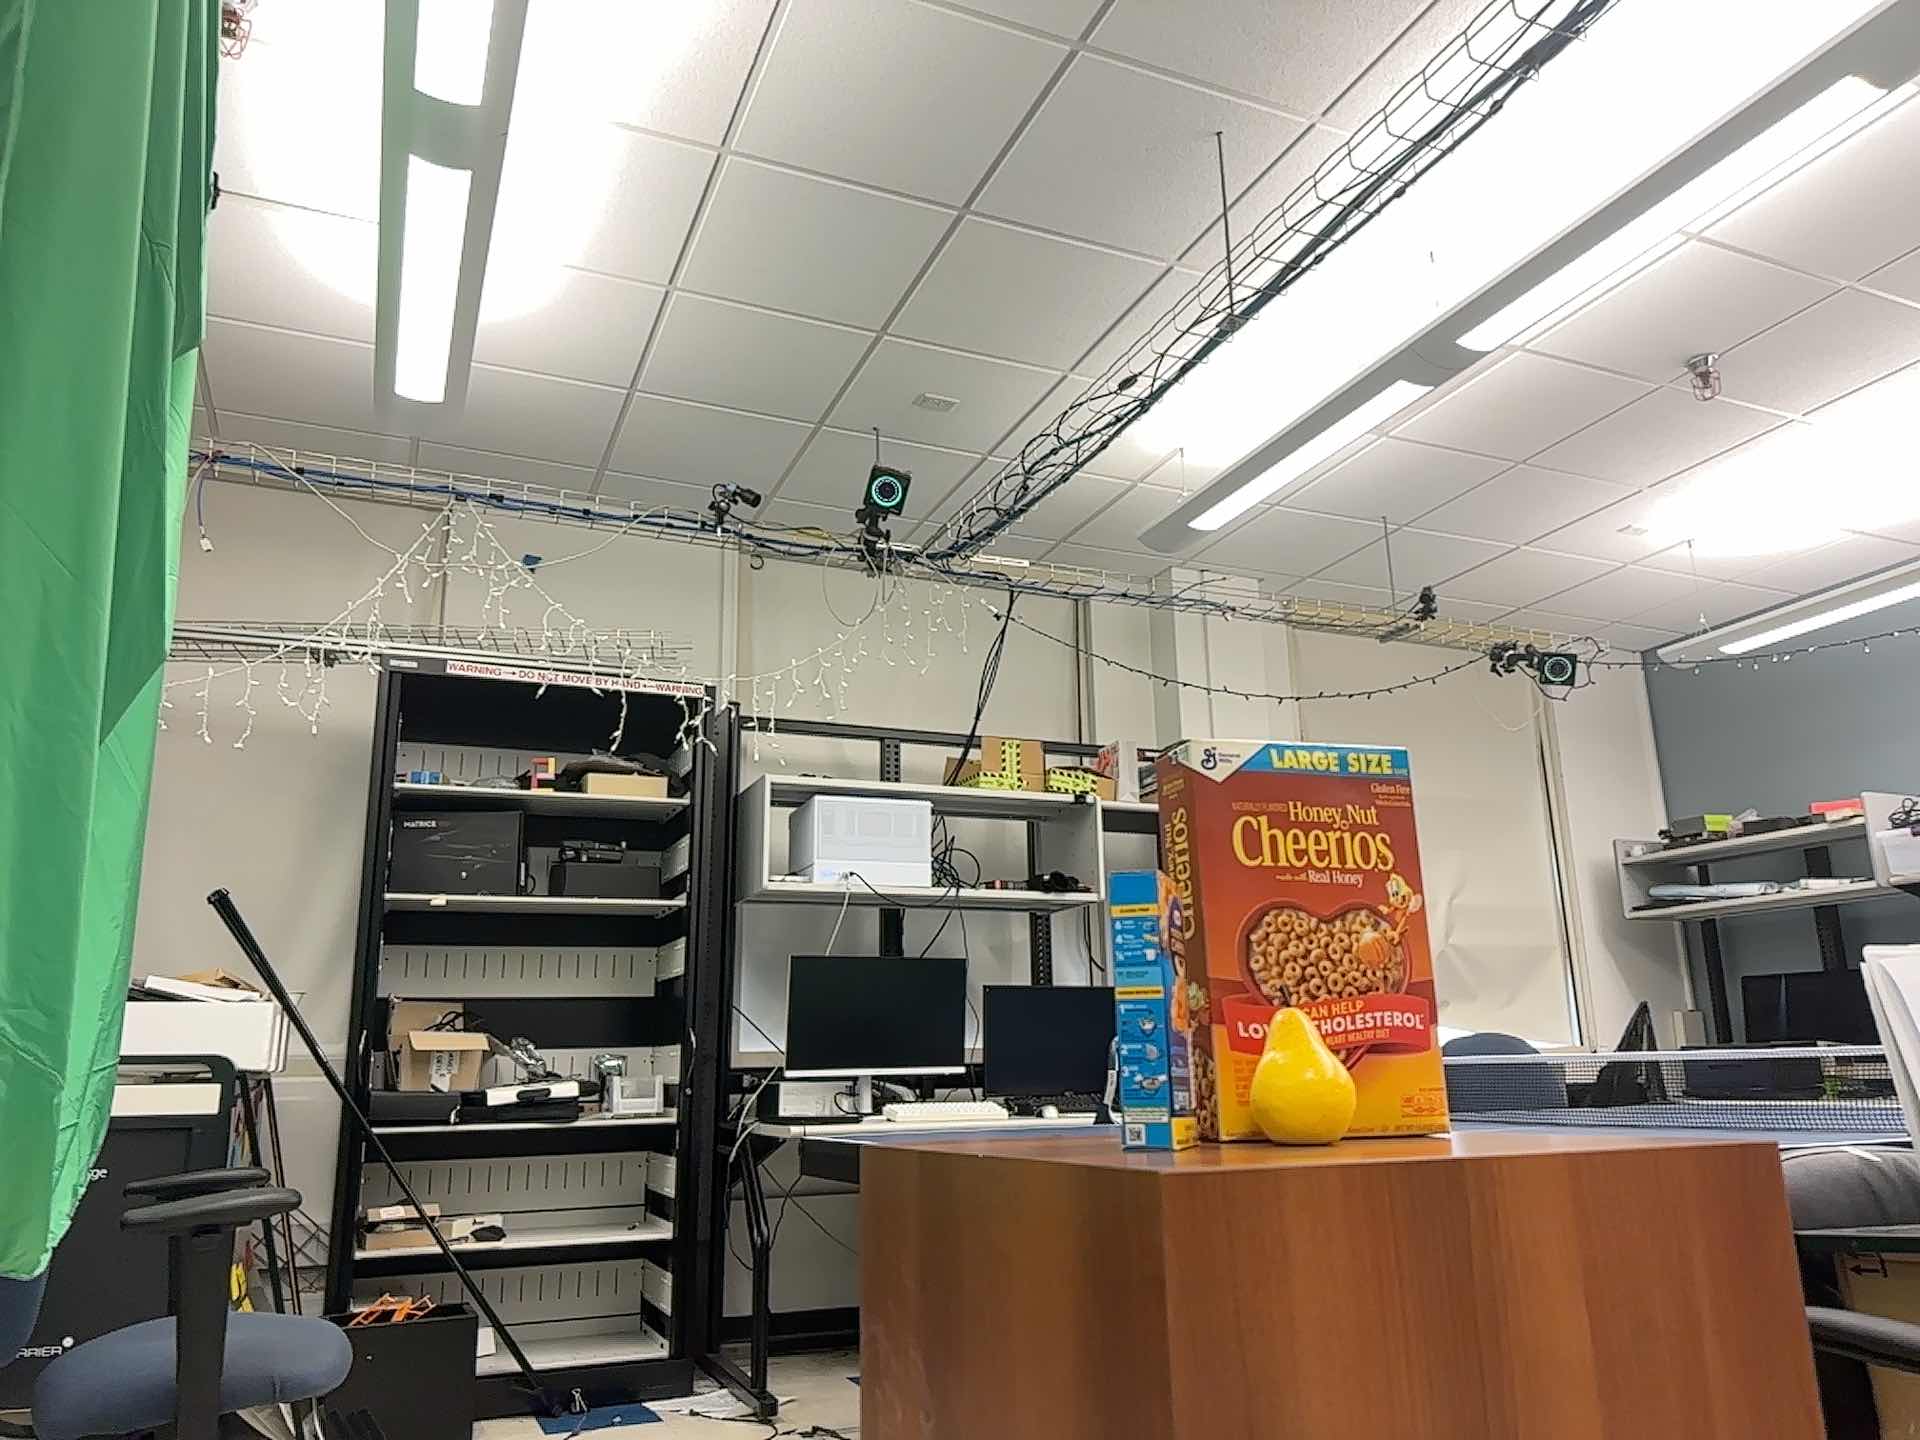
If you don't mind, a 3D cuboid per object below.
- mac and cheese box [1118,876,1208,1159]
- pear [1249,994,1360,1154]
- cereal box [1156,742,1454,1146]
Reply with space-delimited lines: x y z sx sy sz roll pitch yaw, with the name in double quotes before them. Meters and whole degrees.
"mac and cheese box" 0.141 0.206 0.936 0.035 0.181 0.088 -6 -16 22
"pear" 0.240 0.245 0.944 0.080 0.111 0.080 0 -19 0
"cereal box" 0.268 0.172 1.063 0.195 0.297 0.065 4 -15 -17
